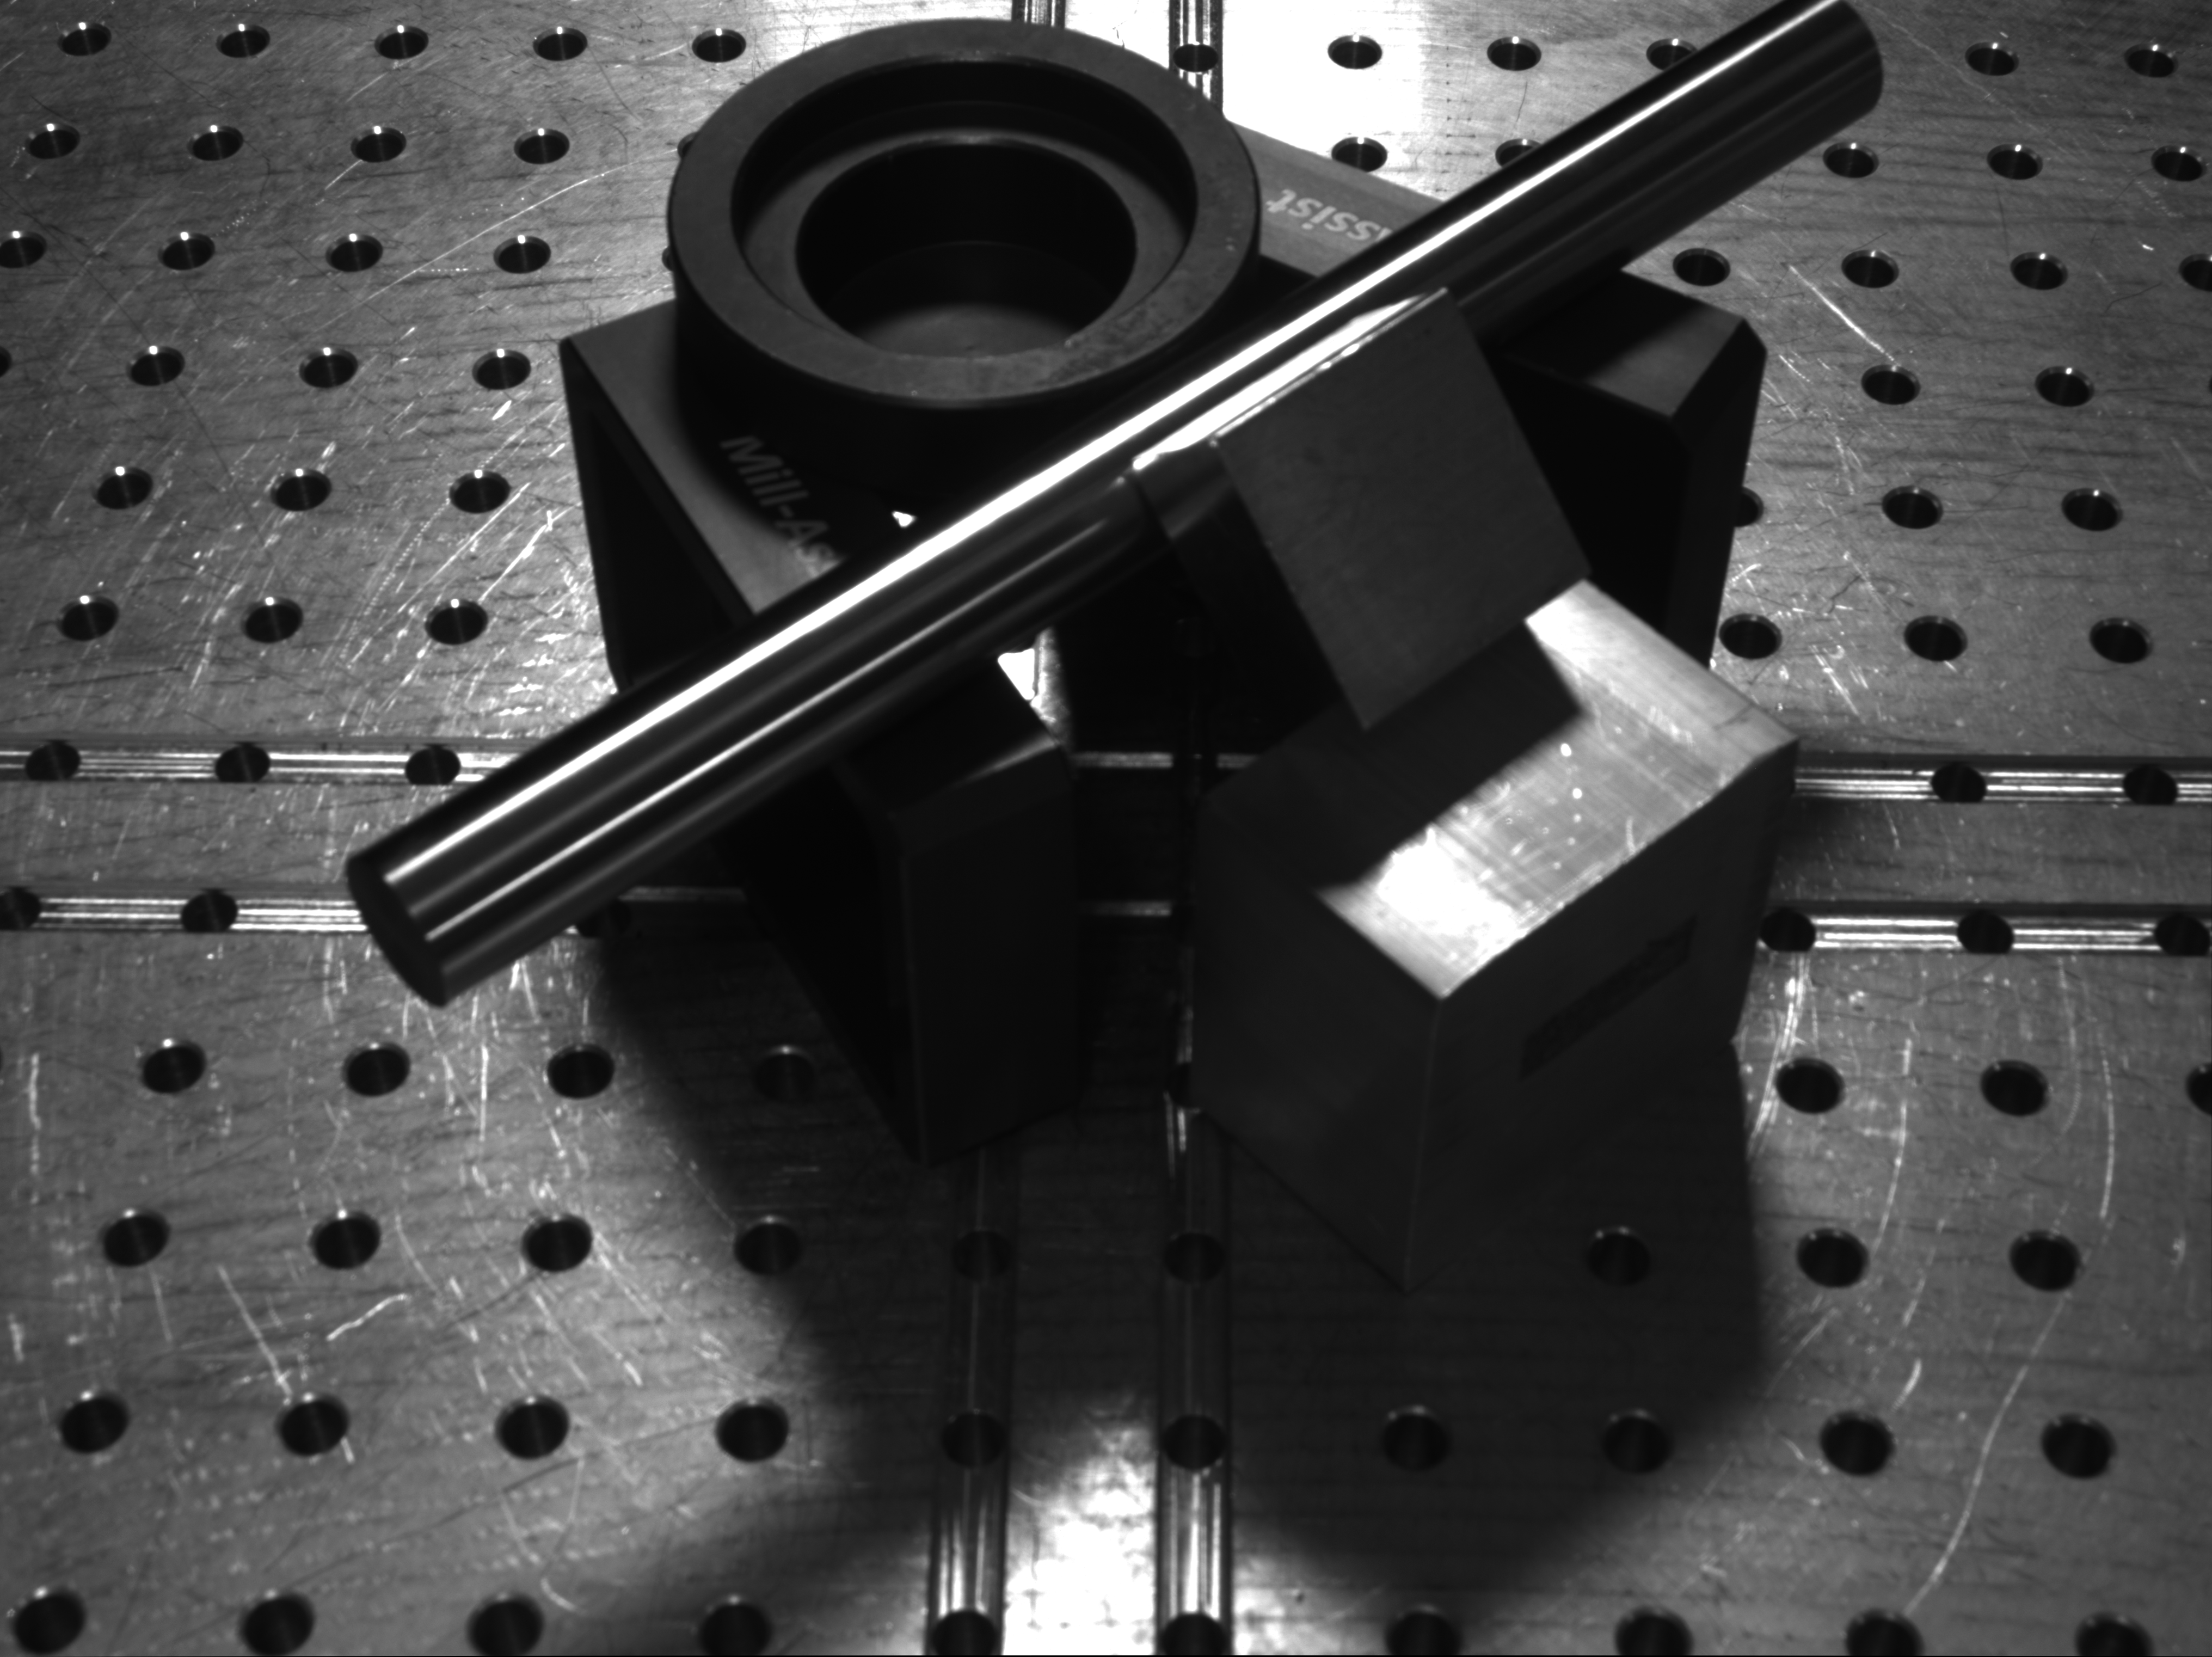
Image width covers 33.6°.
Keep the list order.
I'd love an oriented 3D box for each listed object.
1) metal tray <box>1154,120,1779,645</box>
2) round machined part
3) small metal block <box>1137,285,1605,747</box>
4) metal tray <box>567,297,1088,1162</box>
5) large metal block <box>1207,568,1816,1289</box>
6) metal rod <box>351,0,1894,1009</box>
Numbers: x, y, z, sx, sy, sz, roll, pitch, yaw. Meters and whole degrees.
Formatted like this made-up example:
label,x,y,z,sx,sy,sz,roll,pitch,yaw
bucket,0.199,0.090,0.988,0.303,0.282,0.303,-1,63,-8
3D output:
label,x,y,z,sx,sy,sz,roll,pitch,yaw
metal tray,0.051,-0.072,0.662,0.130,0.090,0.030,25,55,20
round machined part,-0.022,-0.090,0.620,0.098,0.042,0.098,0,50,0
small metal block,0.041,-0.048,0.562,0.050,0.050,0.025,-35,13,-26
metal tray,-0.047,-0.019,0.618,0.030,0.090,0.130,-23,53,-18
large metal block,0.064,0.014,0.593,0.080,0.080,0.050,-34,57,-25
metal rod,0.015,-0.060,0.578,0.300,0.025,0.025,-33,57,-25
